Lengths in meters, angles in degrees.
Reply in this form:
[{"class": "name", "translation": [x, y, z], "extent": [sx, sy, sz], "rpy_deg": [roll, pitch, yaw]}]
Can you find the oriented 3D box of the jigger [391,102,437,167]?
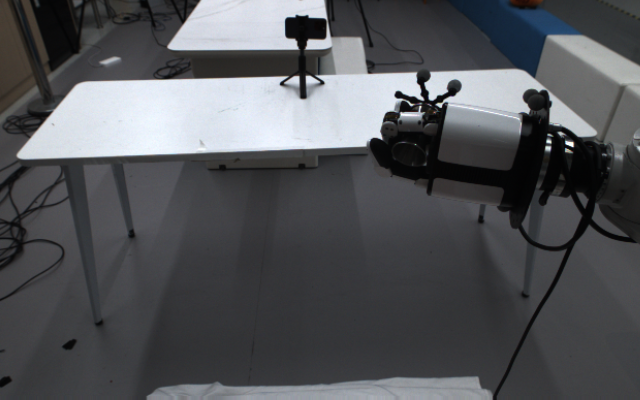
[{"class": "jigger", "translation": [0.119, -0.084, 0.588], "extent": [0.043, 0.043, 0.071], "rpy_deg": [15, 58, 19]}]
